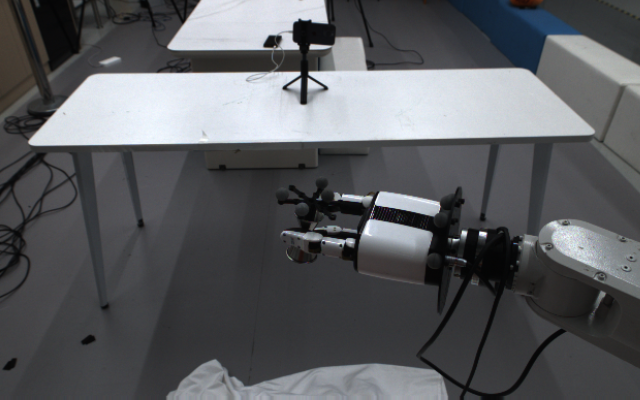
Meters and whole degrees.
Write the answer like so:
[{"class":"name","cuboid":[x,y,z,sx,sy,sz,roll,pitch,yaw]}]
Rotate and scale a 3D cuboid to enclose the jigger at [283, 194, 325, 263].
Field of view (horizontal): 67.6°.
[{"class":"jigger","cuboid":[-0.020,0.046,0.653,0.043,0.071,0.043,9,30,-5]}]
